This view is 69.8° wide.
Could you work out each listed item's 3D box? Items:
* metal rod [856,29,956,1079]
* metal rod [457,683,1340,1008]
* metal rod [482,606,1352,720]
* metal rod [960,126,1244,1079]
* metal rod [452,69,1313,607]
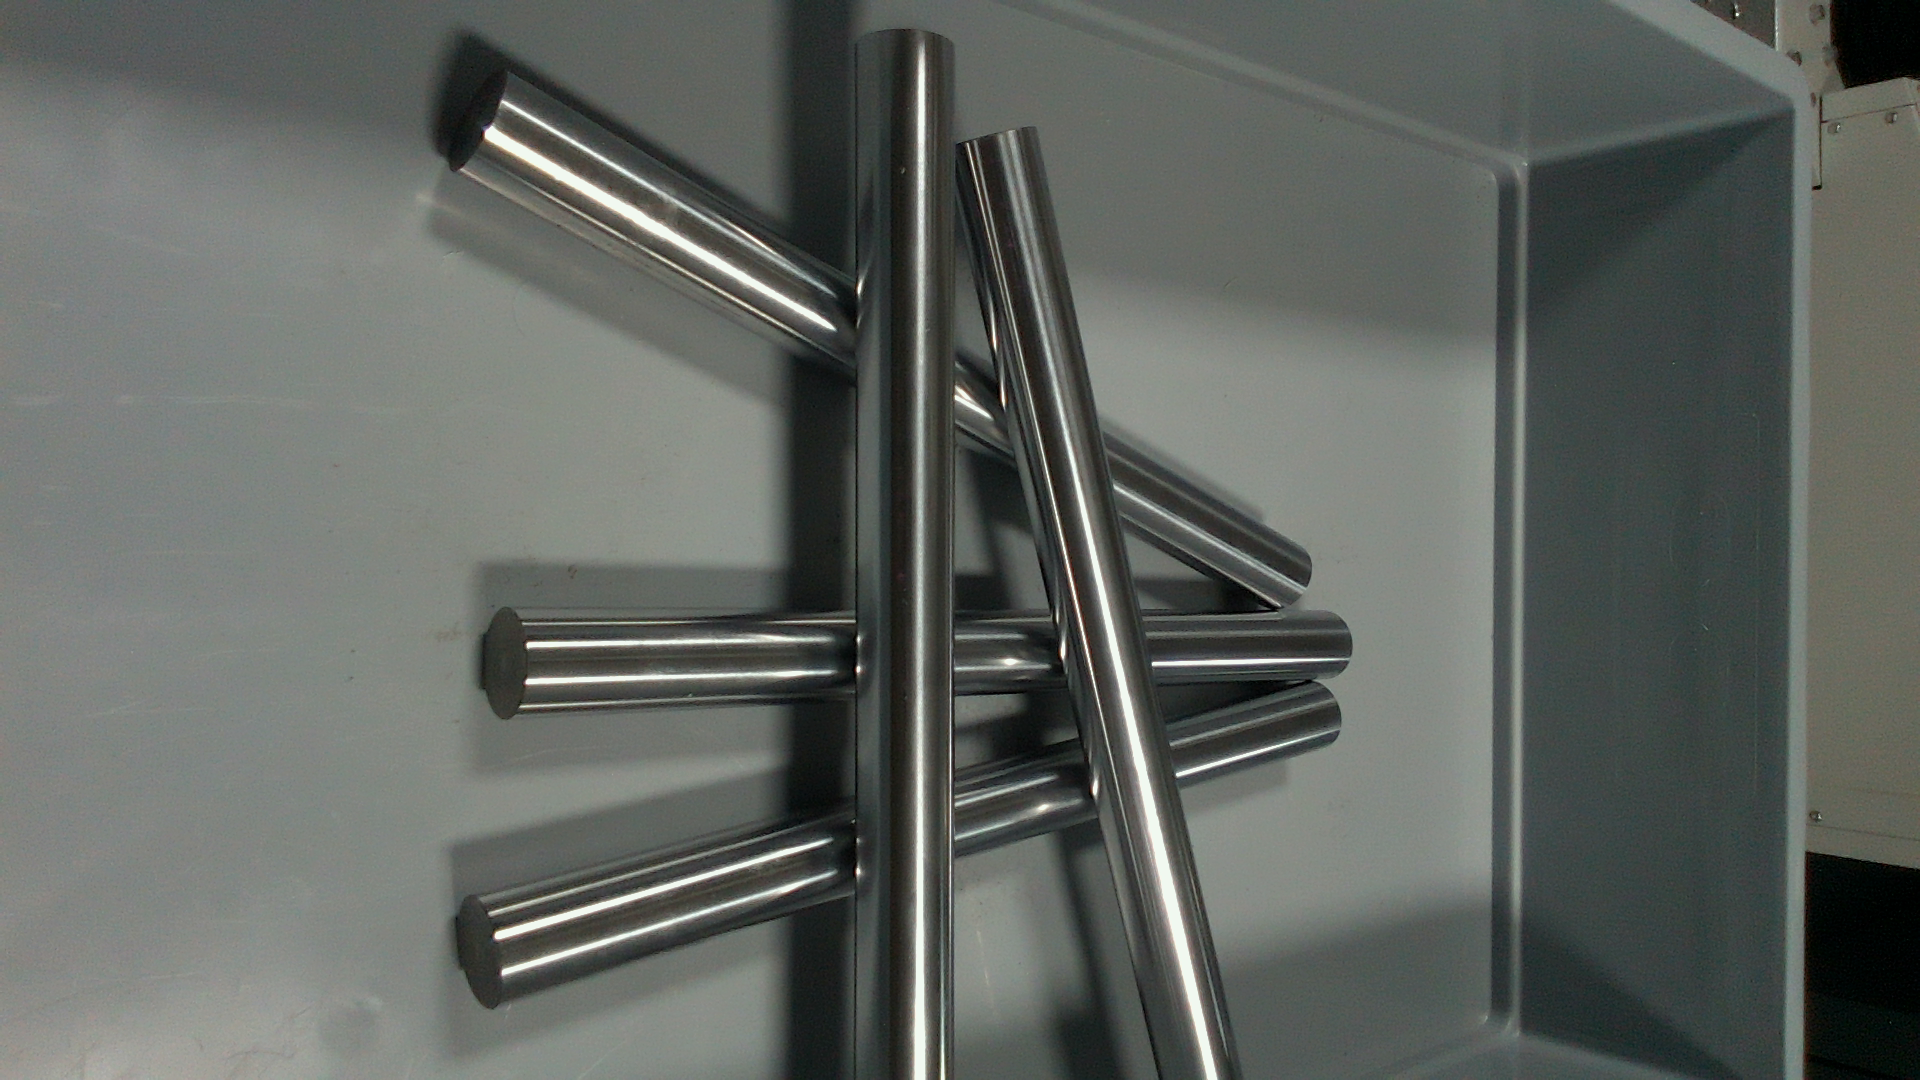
[{"bbox_3d":[-0.013,0.027,0.343,0.025,0.025,0.300,0,90,-40],"label":"metal rod"},{"bbox_3d":[0.010,0.076,0.396,0.301,0.025,0.025,-7,94,-40],"label":"metal rod"},{"bbox_3d":[0.015,0.032,0.399,0.301,0.025,0.025,3,88,-40],"label":"metal rod"},{"bbox_3d":[0.043,0.037,0.390,0.025,0.025,0.300,-22,104,-38],"label":"metal rod"},{"bbox_3d":[0.004,-0.040,0.390,0.301,0.025,0.025,26,74,-37],"label":"metal rod"}]
